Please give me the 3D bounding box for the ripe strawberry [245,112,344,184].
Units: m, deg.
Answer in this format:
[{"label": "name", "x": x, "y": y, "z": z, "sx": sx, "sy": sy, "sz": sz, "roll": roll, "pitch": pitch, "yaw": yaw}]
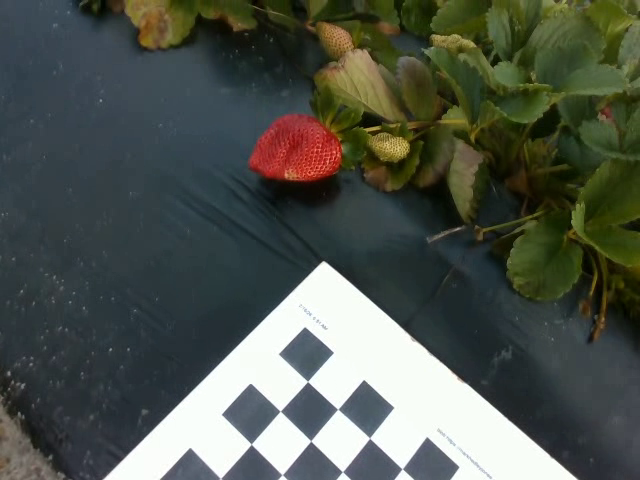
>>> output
[{"label": "ripe strawberry", "x": -0.020, "y": -0.066, "z": 0.434, "sx": 0.074, "sy": 0.067, "sz": 0.039, "roll": -39, "pitch": -19, "yaw": -24}]
